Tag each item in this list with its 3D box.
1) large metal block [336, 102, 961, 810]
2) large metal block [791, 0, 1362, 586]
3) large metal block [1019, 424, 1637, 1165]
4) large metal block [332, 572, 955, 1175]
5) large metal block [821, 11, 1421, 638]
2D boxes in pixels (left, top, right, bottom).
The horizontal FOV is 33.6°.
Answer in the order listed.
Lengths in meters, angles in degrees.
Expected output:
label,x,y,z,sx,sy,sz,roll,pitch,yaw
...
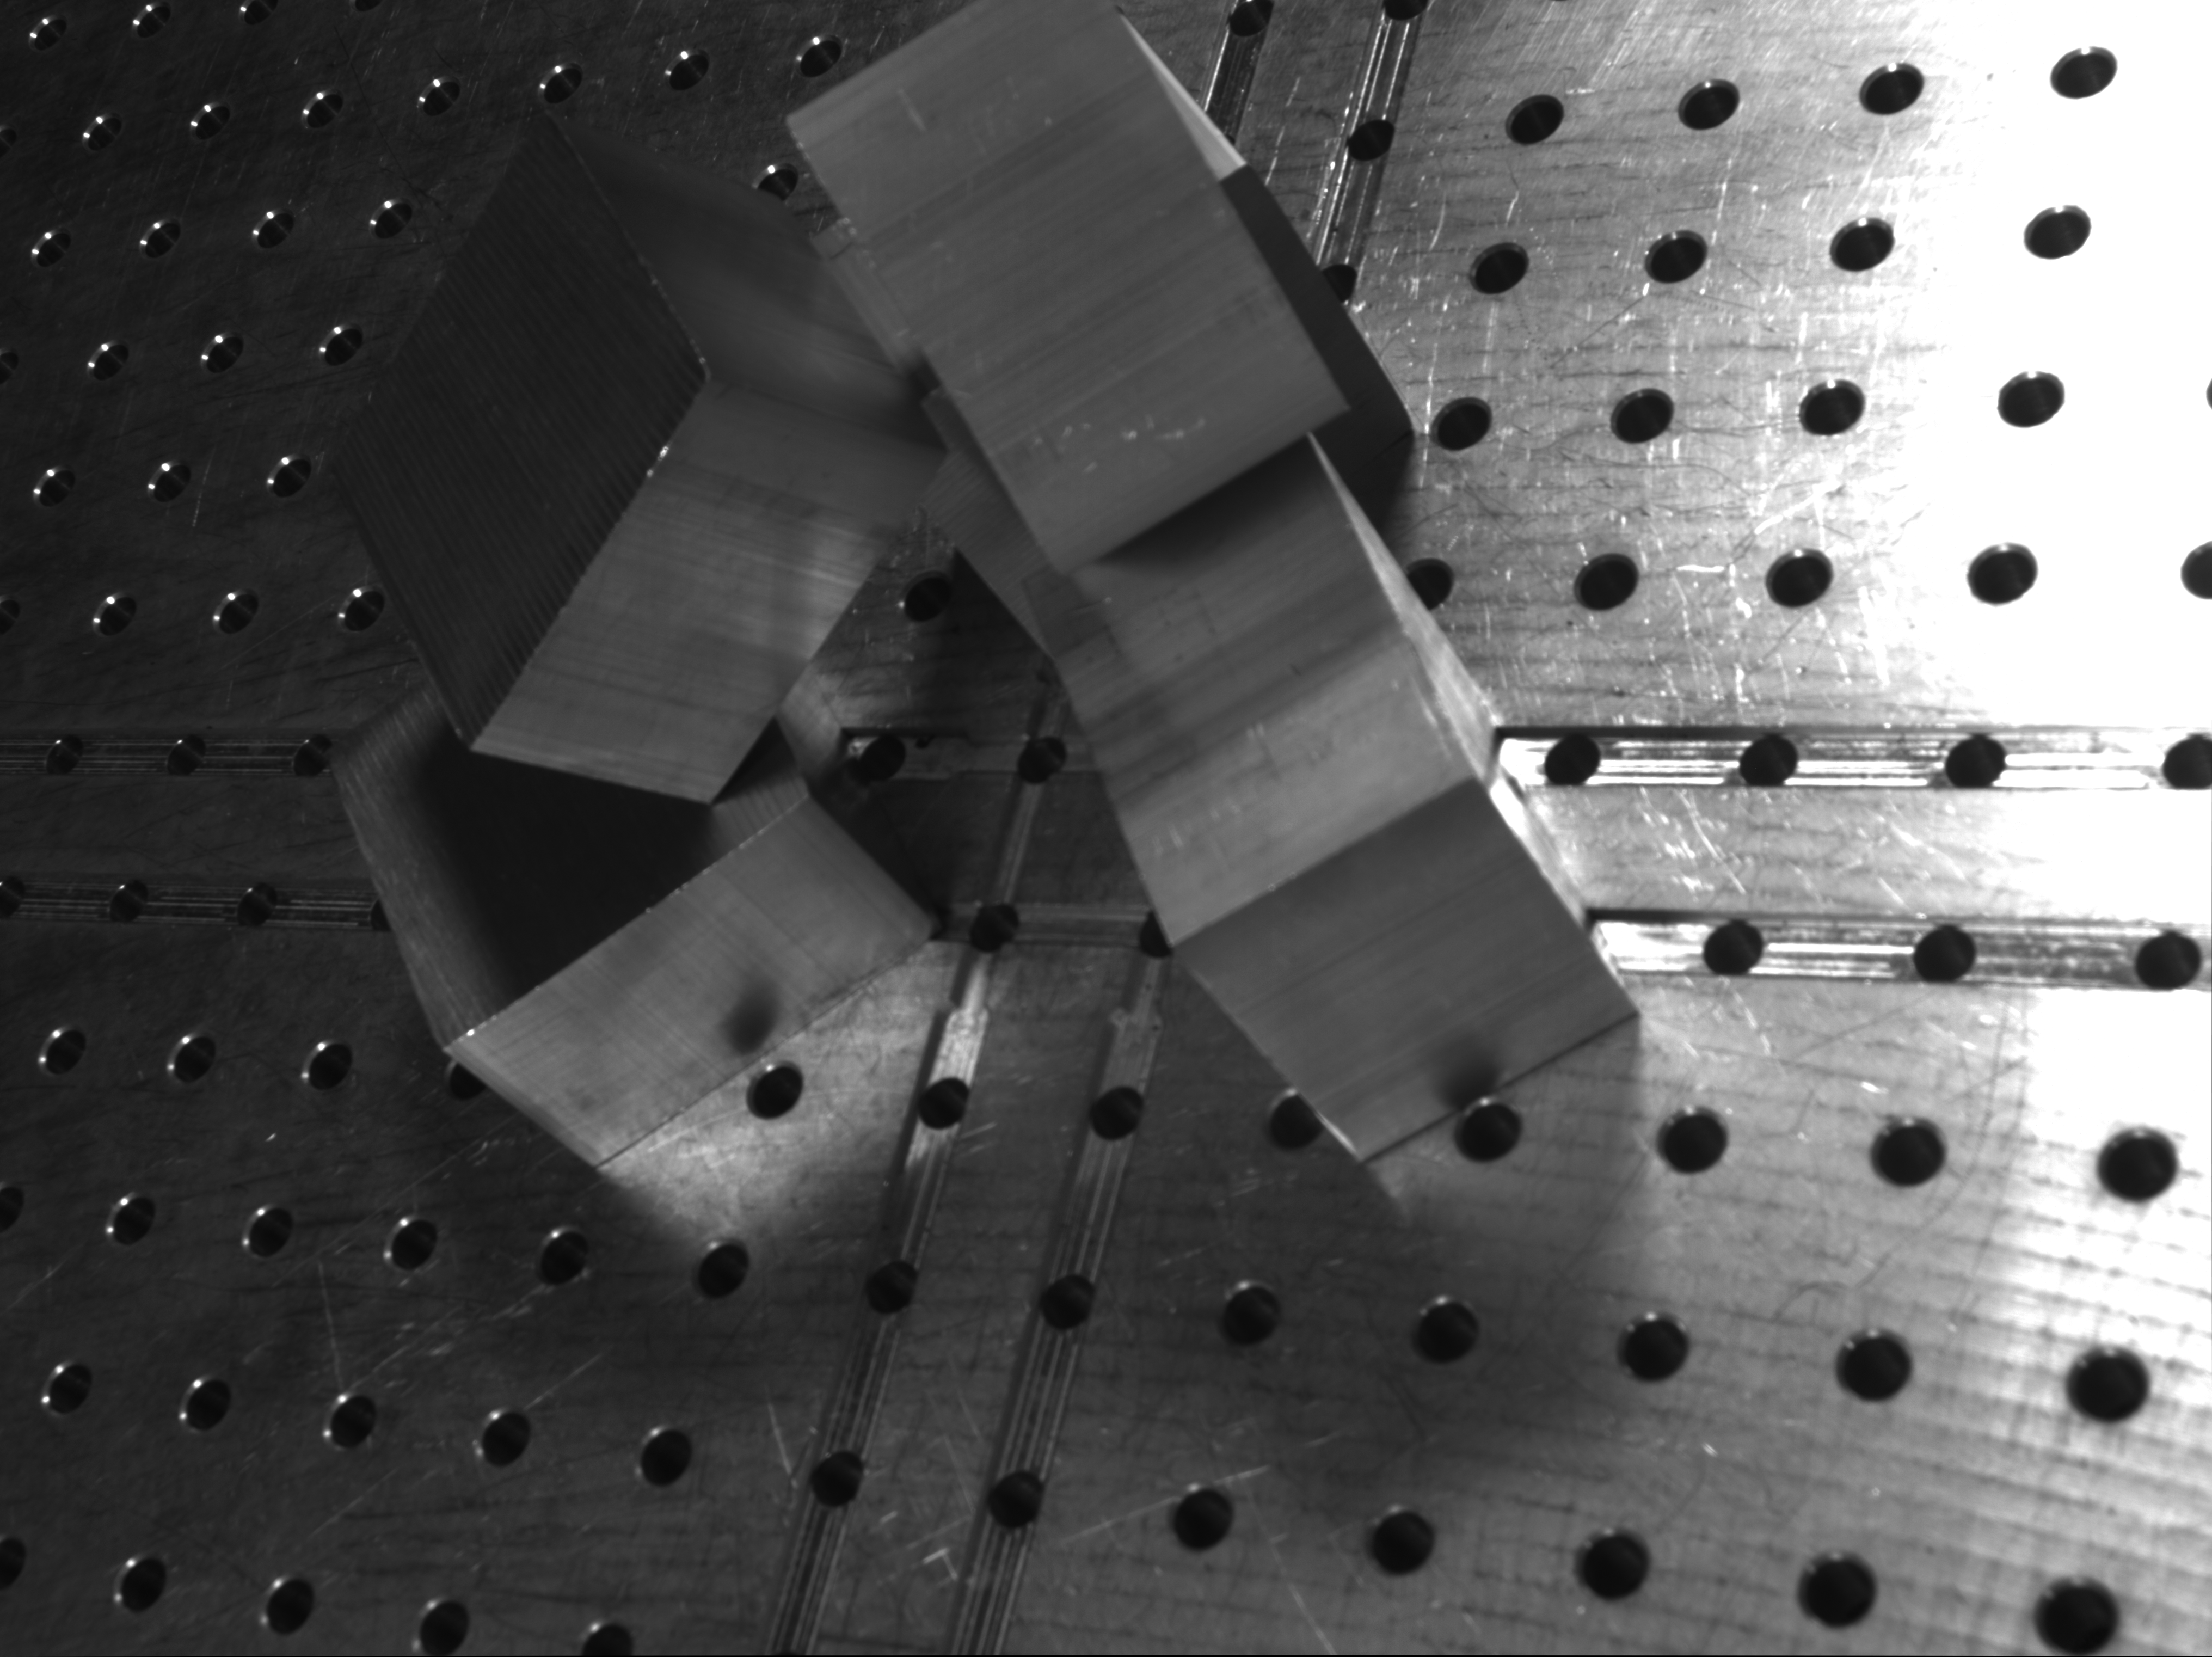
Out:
label,x,y,z,sx,sy,sz,roll,pitch,yaw
large metal block,-0.081,-0.063,0.629,0.080,0.050,0.080,-54,47,23
large metal block,-0.005,-0.089,0.578,0.050,0.080,0.080,-31,9,3
large metal block,0.036,-0.005,0.593,0.050,0.080,0.080,-30,52,9
large metal block,-0.086,0.002,0.676,0.080,0.050,0.080,-34,51,6
large metal block,-0.001,-0.087,0.664,0.080,0.080,0.050,-36,51,4
